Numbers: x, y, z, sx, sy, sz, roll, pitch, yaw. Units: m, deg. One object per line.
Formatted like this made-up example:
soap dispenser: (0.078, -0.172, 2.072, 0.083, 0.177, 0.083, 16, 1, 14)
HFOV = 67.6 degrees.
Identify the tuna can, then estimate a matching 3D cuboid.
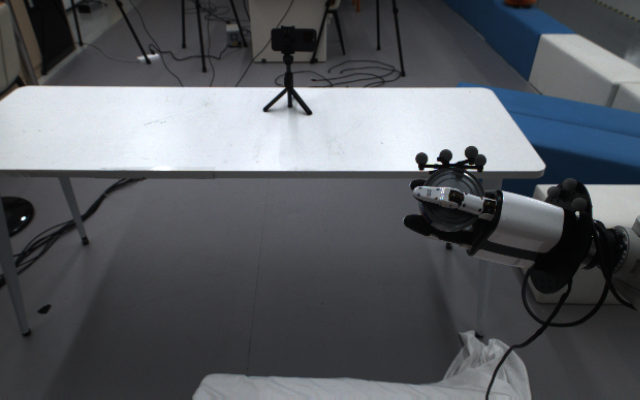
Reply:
tuna can: (0.180, -0.001, 0.665, 0.085, 0.034, 0.085, -1, 76, 4)
